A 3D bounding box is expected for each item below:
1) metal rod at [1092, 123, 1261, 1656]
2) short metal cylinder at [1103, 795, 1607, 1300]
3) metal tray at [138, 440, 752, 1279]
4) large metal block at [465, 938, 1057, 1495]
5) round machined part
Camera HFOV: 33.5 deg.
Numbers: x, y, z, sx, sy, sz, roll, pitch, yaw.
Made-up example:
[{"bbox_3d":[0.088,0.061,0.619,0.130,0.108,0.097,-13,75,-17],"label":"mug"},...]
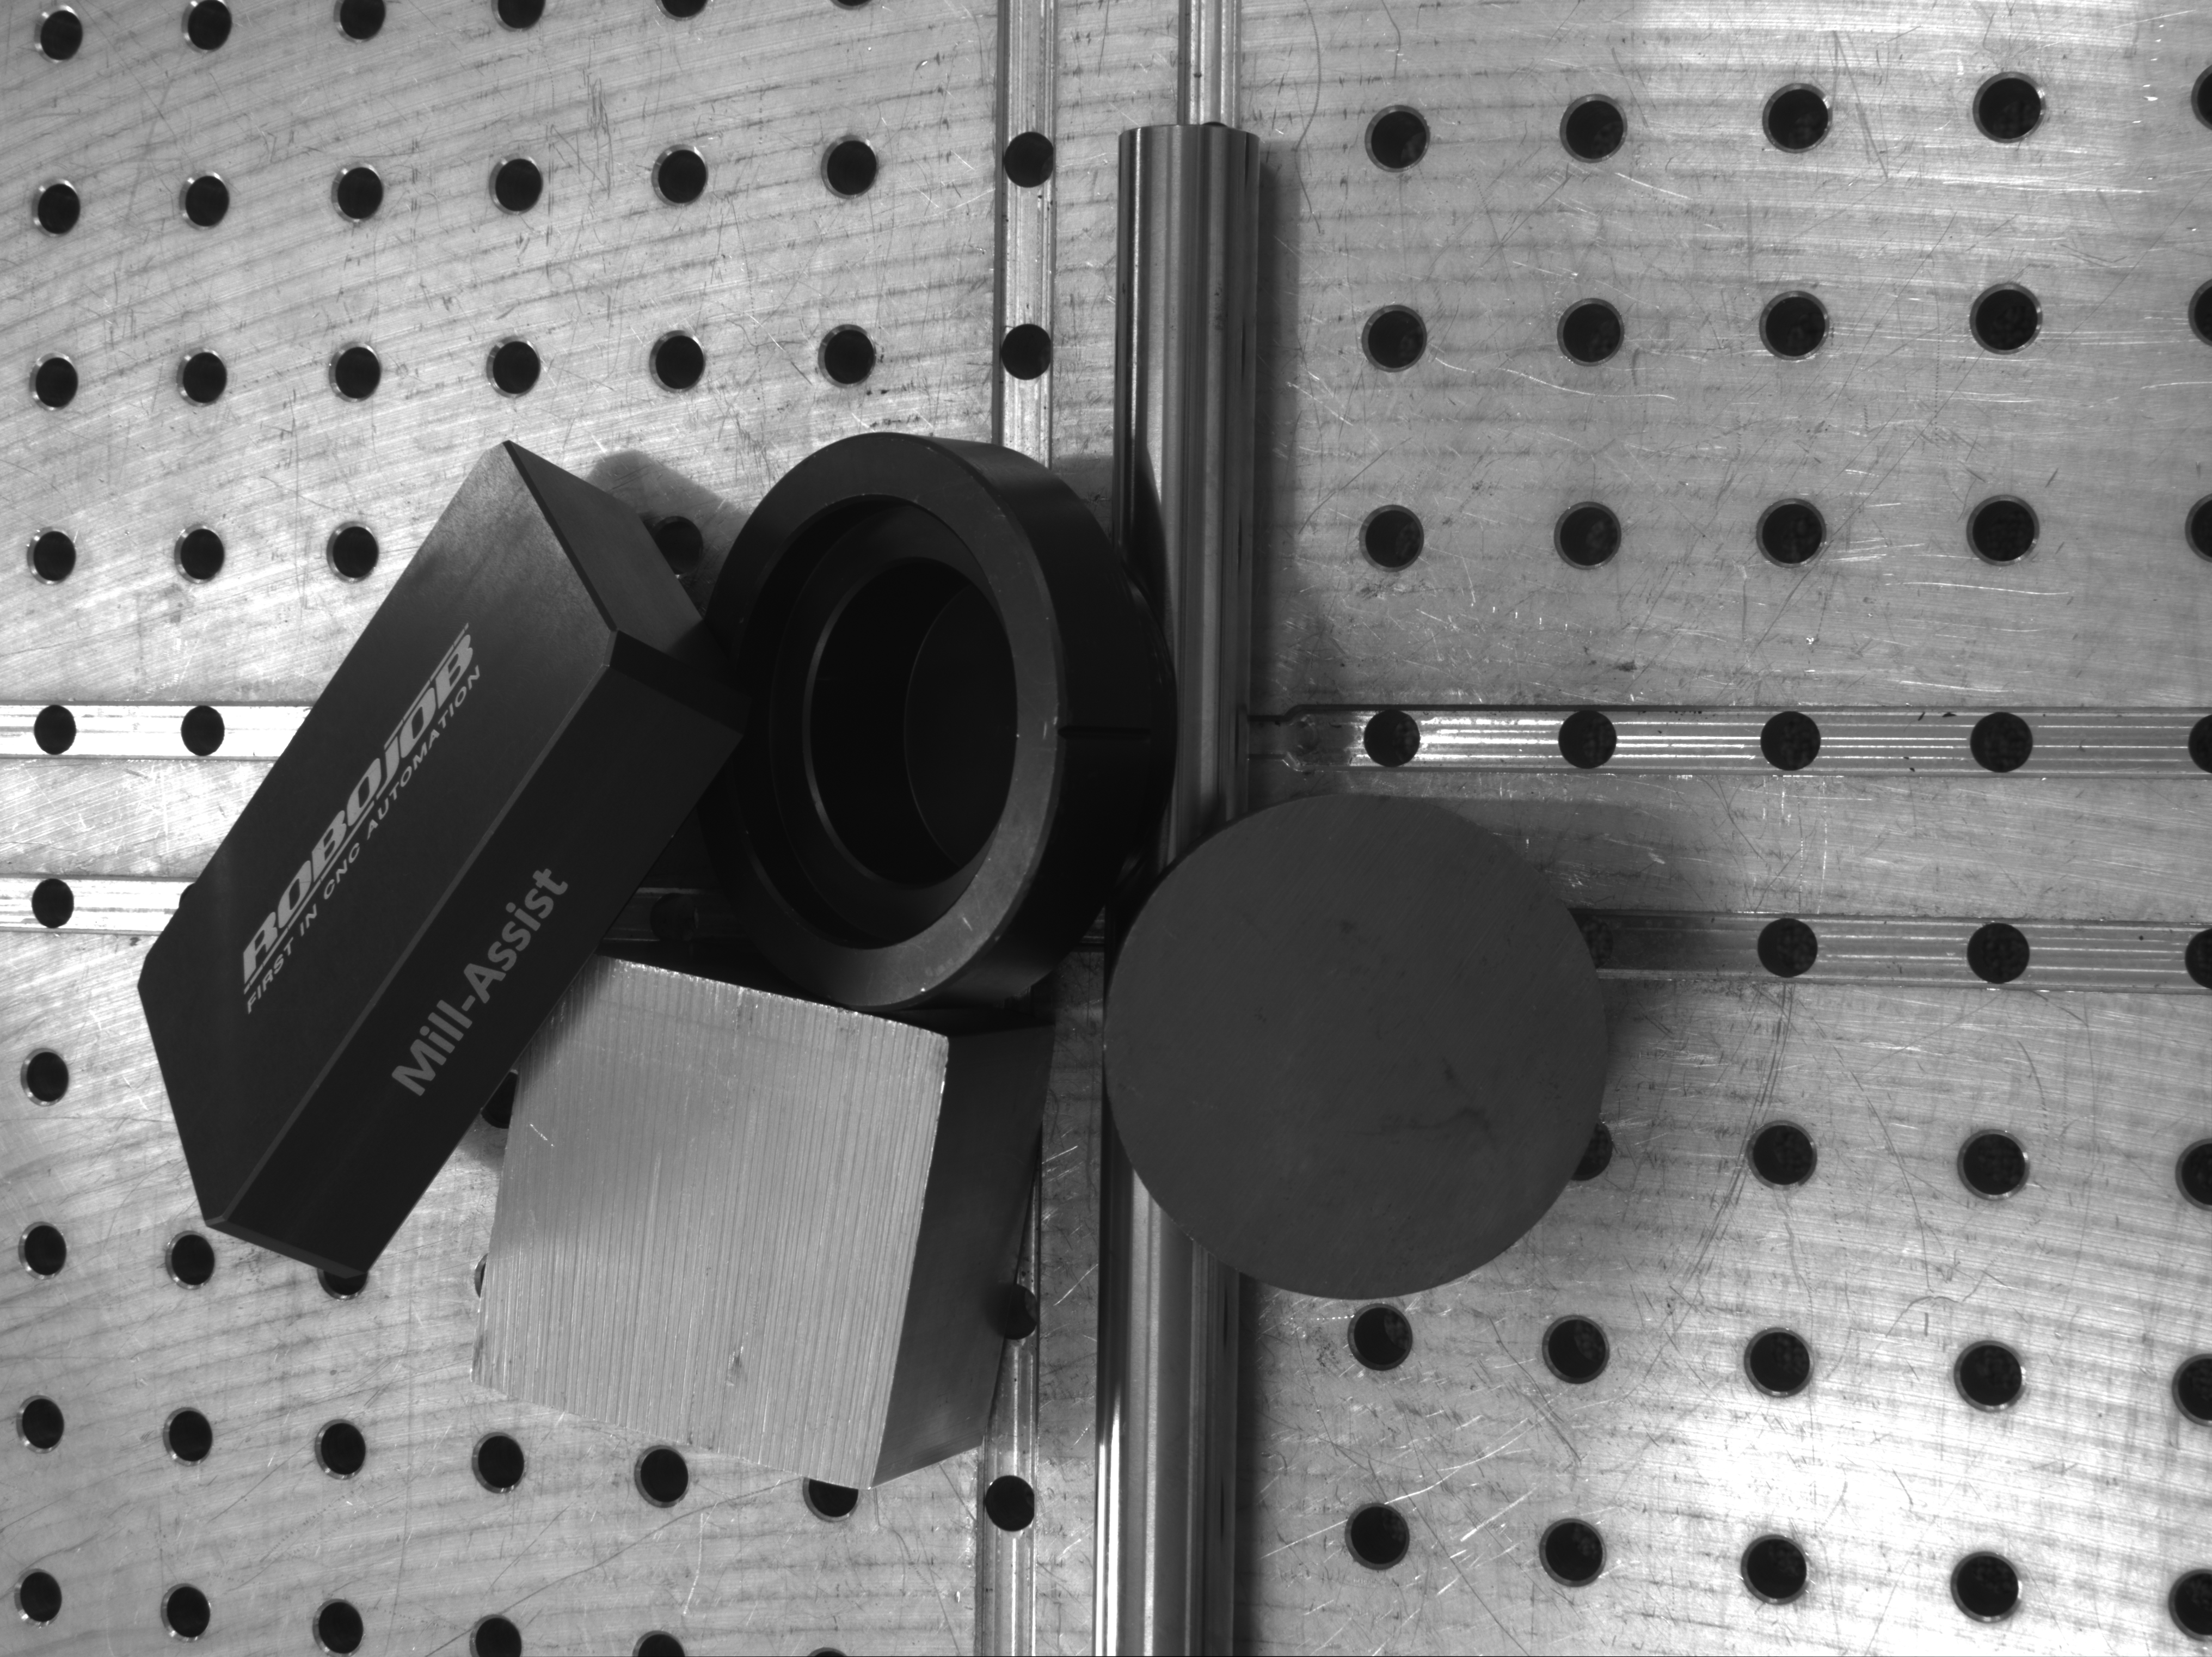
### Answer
[{"bbox_3d":[0.012,0.029,0.646,0.025,0.025,0.300,1,90,20],"label":"metal rod"},{"bbox_3d":[0.040,0.035,0.608,0.080,0.050,0.080,0,90,0],"label":"short metal cylinder"},{"bbox_3d":[-0.123,0.005,0.665,0.130,0.030,0.090,-54,35,12],"label":"metal tray"},{"bbox_3d":[-0.061,0.067,0.658,0.080,0.050,0.080,11,94,20],"label":"large metal block"},{"bbox_3d":[-0.026,-0.018,0.636,0.098,0.042,0.098,-2,88,46],"label":"round machined part"}]
